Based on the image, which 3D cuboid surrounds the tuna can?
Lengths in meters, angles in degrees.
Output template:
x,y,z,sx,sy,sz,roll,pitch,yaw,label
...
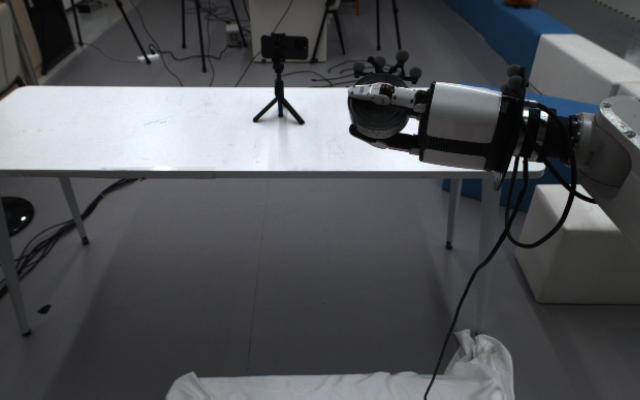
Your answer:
x,y,z,sx,sy,sz,roll,pitch,yaw,label
0.081,-0.130,0.659,0.085,0.034,0.085,-3,69,7,tuna can
